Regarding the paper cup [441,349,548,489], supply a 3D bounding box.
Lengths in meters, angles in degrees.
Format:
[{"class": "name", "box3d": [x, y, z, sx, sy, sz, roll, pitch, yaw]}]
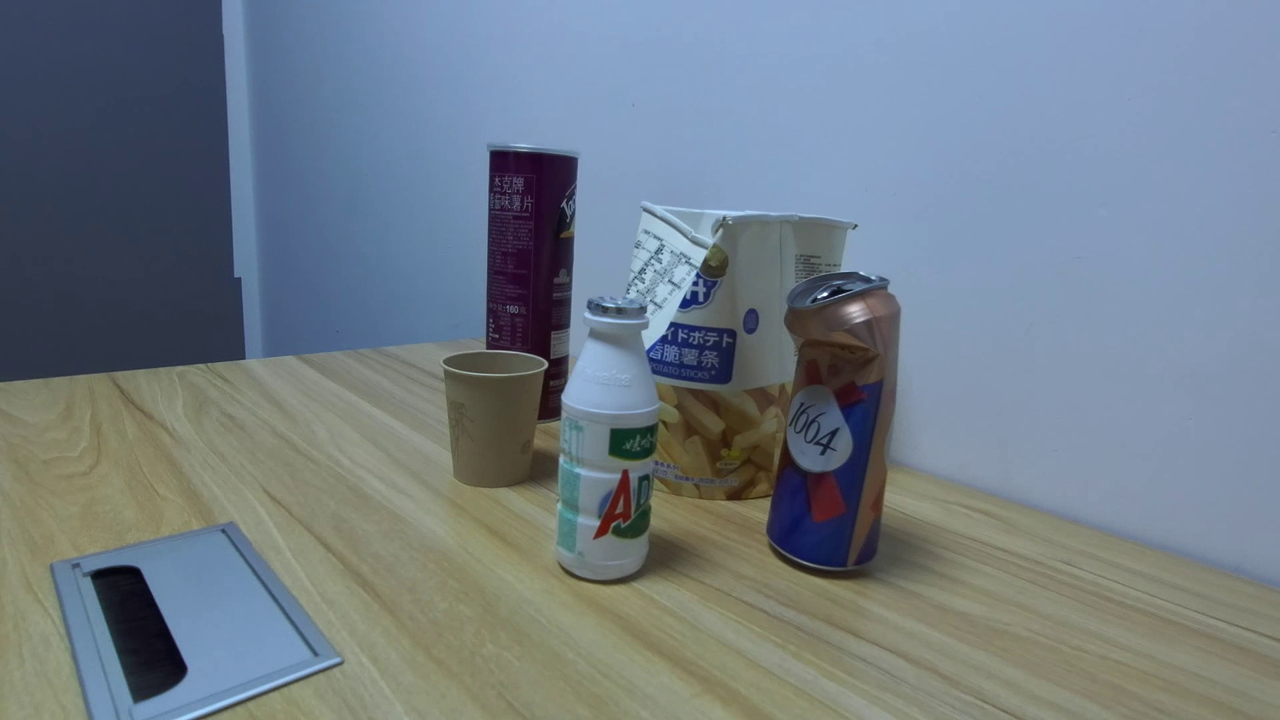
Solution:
[{"class": "paper cup", "box3d": [-0.102, 0.042, 0.497, 0.075, 0.082, 0.075, 4, 12, 0]}]

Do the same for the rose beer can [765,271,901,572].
[{"class": "rose beer can", "box3d": [0.110, 0.036, 0.402, 0.069, 0.168, 0.070, 9, 18, 30]}]

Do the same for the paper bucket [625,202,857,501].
[{"class": "paper bucket", "box3d": [0.051, -0.016, 0.538, 0.170, 0.202, 0.162, -5, 14, -44]}]

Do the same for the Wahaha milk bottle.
[{"class": "Wahaha milk bottle", "box3d": [-0.017, 0.042, 0.377, 0.053, 0.147, 0.053, 4, 13, -1]}]

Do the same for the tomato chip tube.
[{"class": "tomato chip tube", "box3d": [-0.098, -0.066, 0.632, 0.078, 0.233, 0.078, 4, 12, -1]}]
